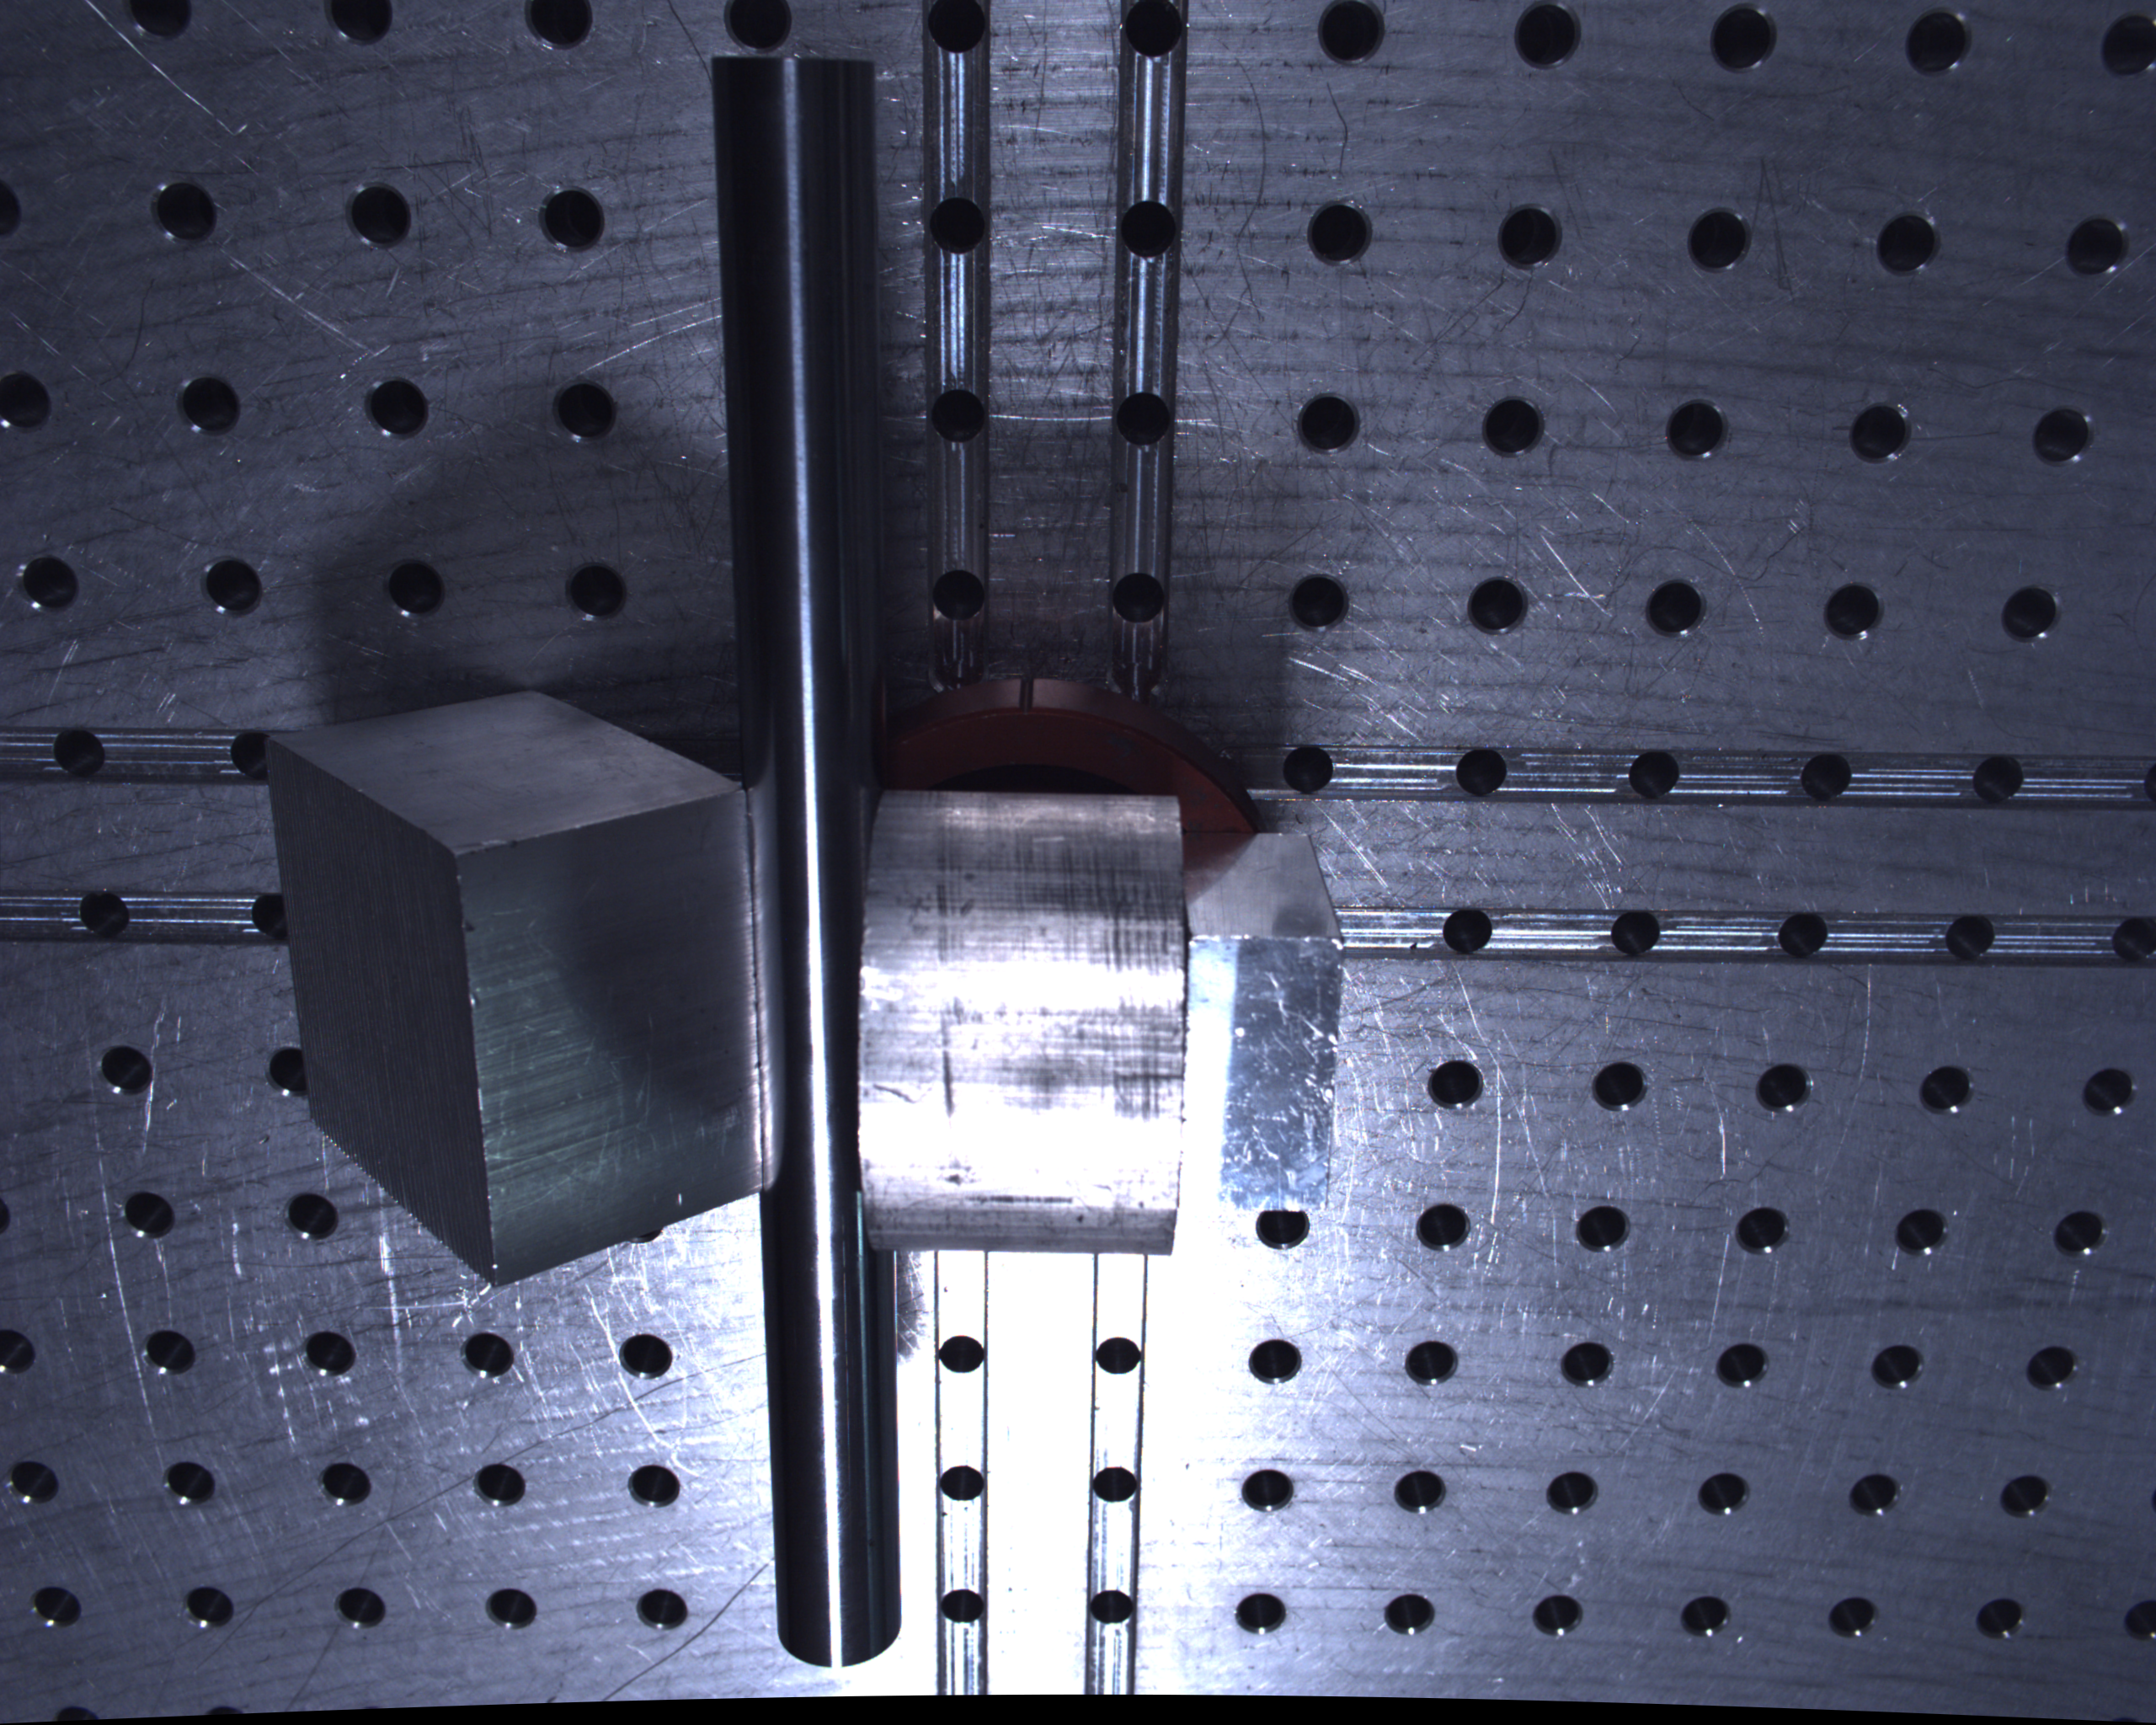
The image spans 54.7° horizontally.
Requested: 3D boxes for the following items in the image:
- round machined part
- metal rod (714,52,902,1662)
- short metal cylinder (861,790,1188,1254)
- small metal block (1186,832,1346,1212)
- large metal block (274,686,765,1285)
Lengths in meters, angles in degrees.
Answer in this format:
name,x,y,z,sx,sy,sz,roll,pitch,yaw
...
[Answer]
name,x,y,z,sx,sy,sz,roll,pitch,yaw
round machined part,-0.008,0.011,0.407,0.099,0.042,0.097,0,110,-1
metal rod,-0.046,0.015,0.374,0.025,0.025,0.298,1,110,-1
short metal cylinder,-0.009,0.027,0.362,0.050,0.080,0.079,1,110,-1
small metal block,0.030,0.027,0.365,0.025,0.050,0.050,1,110,-1
large metal block,-0.102,0.018,0.383,0.050,0.080,0.079,-16,116,-39
